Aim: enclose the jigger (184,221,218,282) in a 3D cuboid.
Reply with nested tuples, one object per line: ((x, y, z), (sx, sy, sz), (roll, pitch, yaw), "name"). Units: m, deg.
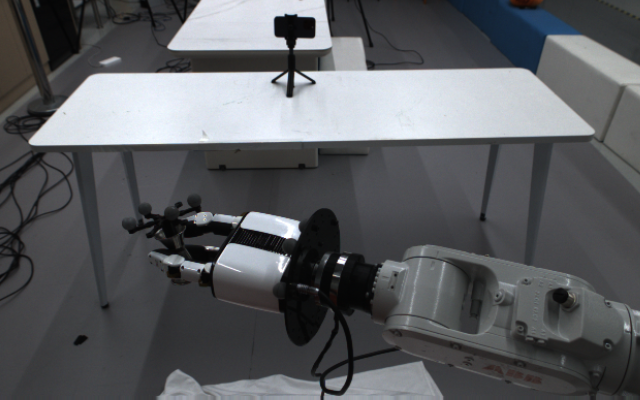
((-0.178, 0.069, 0.620), (0.043, 0.071, 0.043), (-12, 25, 5), "jigger")
